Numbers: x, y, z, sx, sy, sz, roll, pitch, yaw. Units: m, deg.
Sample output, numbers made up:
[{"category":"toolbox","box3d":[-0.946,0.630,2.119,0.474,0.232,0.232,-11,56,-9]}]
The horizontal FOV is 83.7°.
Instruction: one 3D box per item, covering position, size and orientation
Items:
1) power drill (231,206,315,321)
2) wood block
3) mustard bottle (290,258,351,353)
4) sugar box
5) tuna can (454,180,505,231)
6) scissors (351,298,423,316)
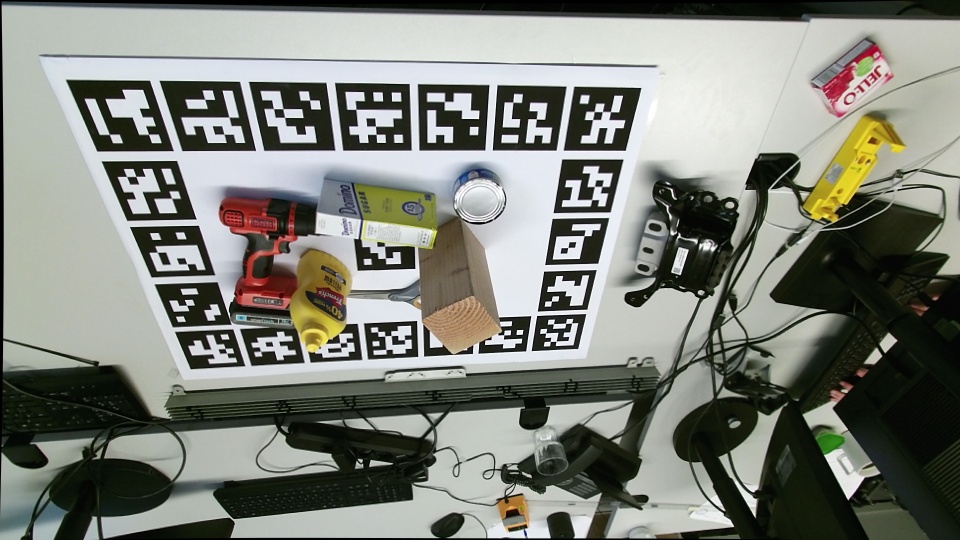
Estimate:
[{"category":"power drill","box3d":[-0.309,-0.009,0.874,0.185,0.057,0.187,9,117,-15]},{"category":"wood block","box3d":[-0.036,0.030,0.864,0.091,0.205,0.090,-26,124,9]},{"category":"mustard bottle","box3d":[-0.257,0.065,0.862,0.058,0.190,0.096,-36,122,15]},{"category":"sugar box","box3d":[-0.161,-0.075,0.829,0.177,0.092,0.045,9,127,-13]},{"category":"tuna can","box3d":[0.001,-0.101,0.866,0.086,0.033,0.086,-4,125,-5]},{"category":"scissors","box3d":[-0.132,0.066,0.979,0.204,0.016,0.088,0,129,-9]}]
